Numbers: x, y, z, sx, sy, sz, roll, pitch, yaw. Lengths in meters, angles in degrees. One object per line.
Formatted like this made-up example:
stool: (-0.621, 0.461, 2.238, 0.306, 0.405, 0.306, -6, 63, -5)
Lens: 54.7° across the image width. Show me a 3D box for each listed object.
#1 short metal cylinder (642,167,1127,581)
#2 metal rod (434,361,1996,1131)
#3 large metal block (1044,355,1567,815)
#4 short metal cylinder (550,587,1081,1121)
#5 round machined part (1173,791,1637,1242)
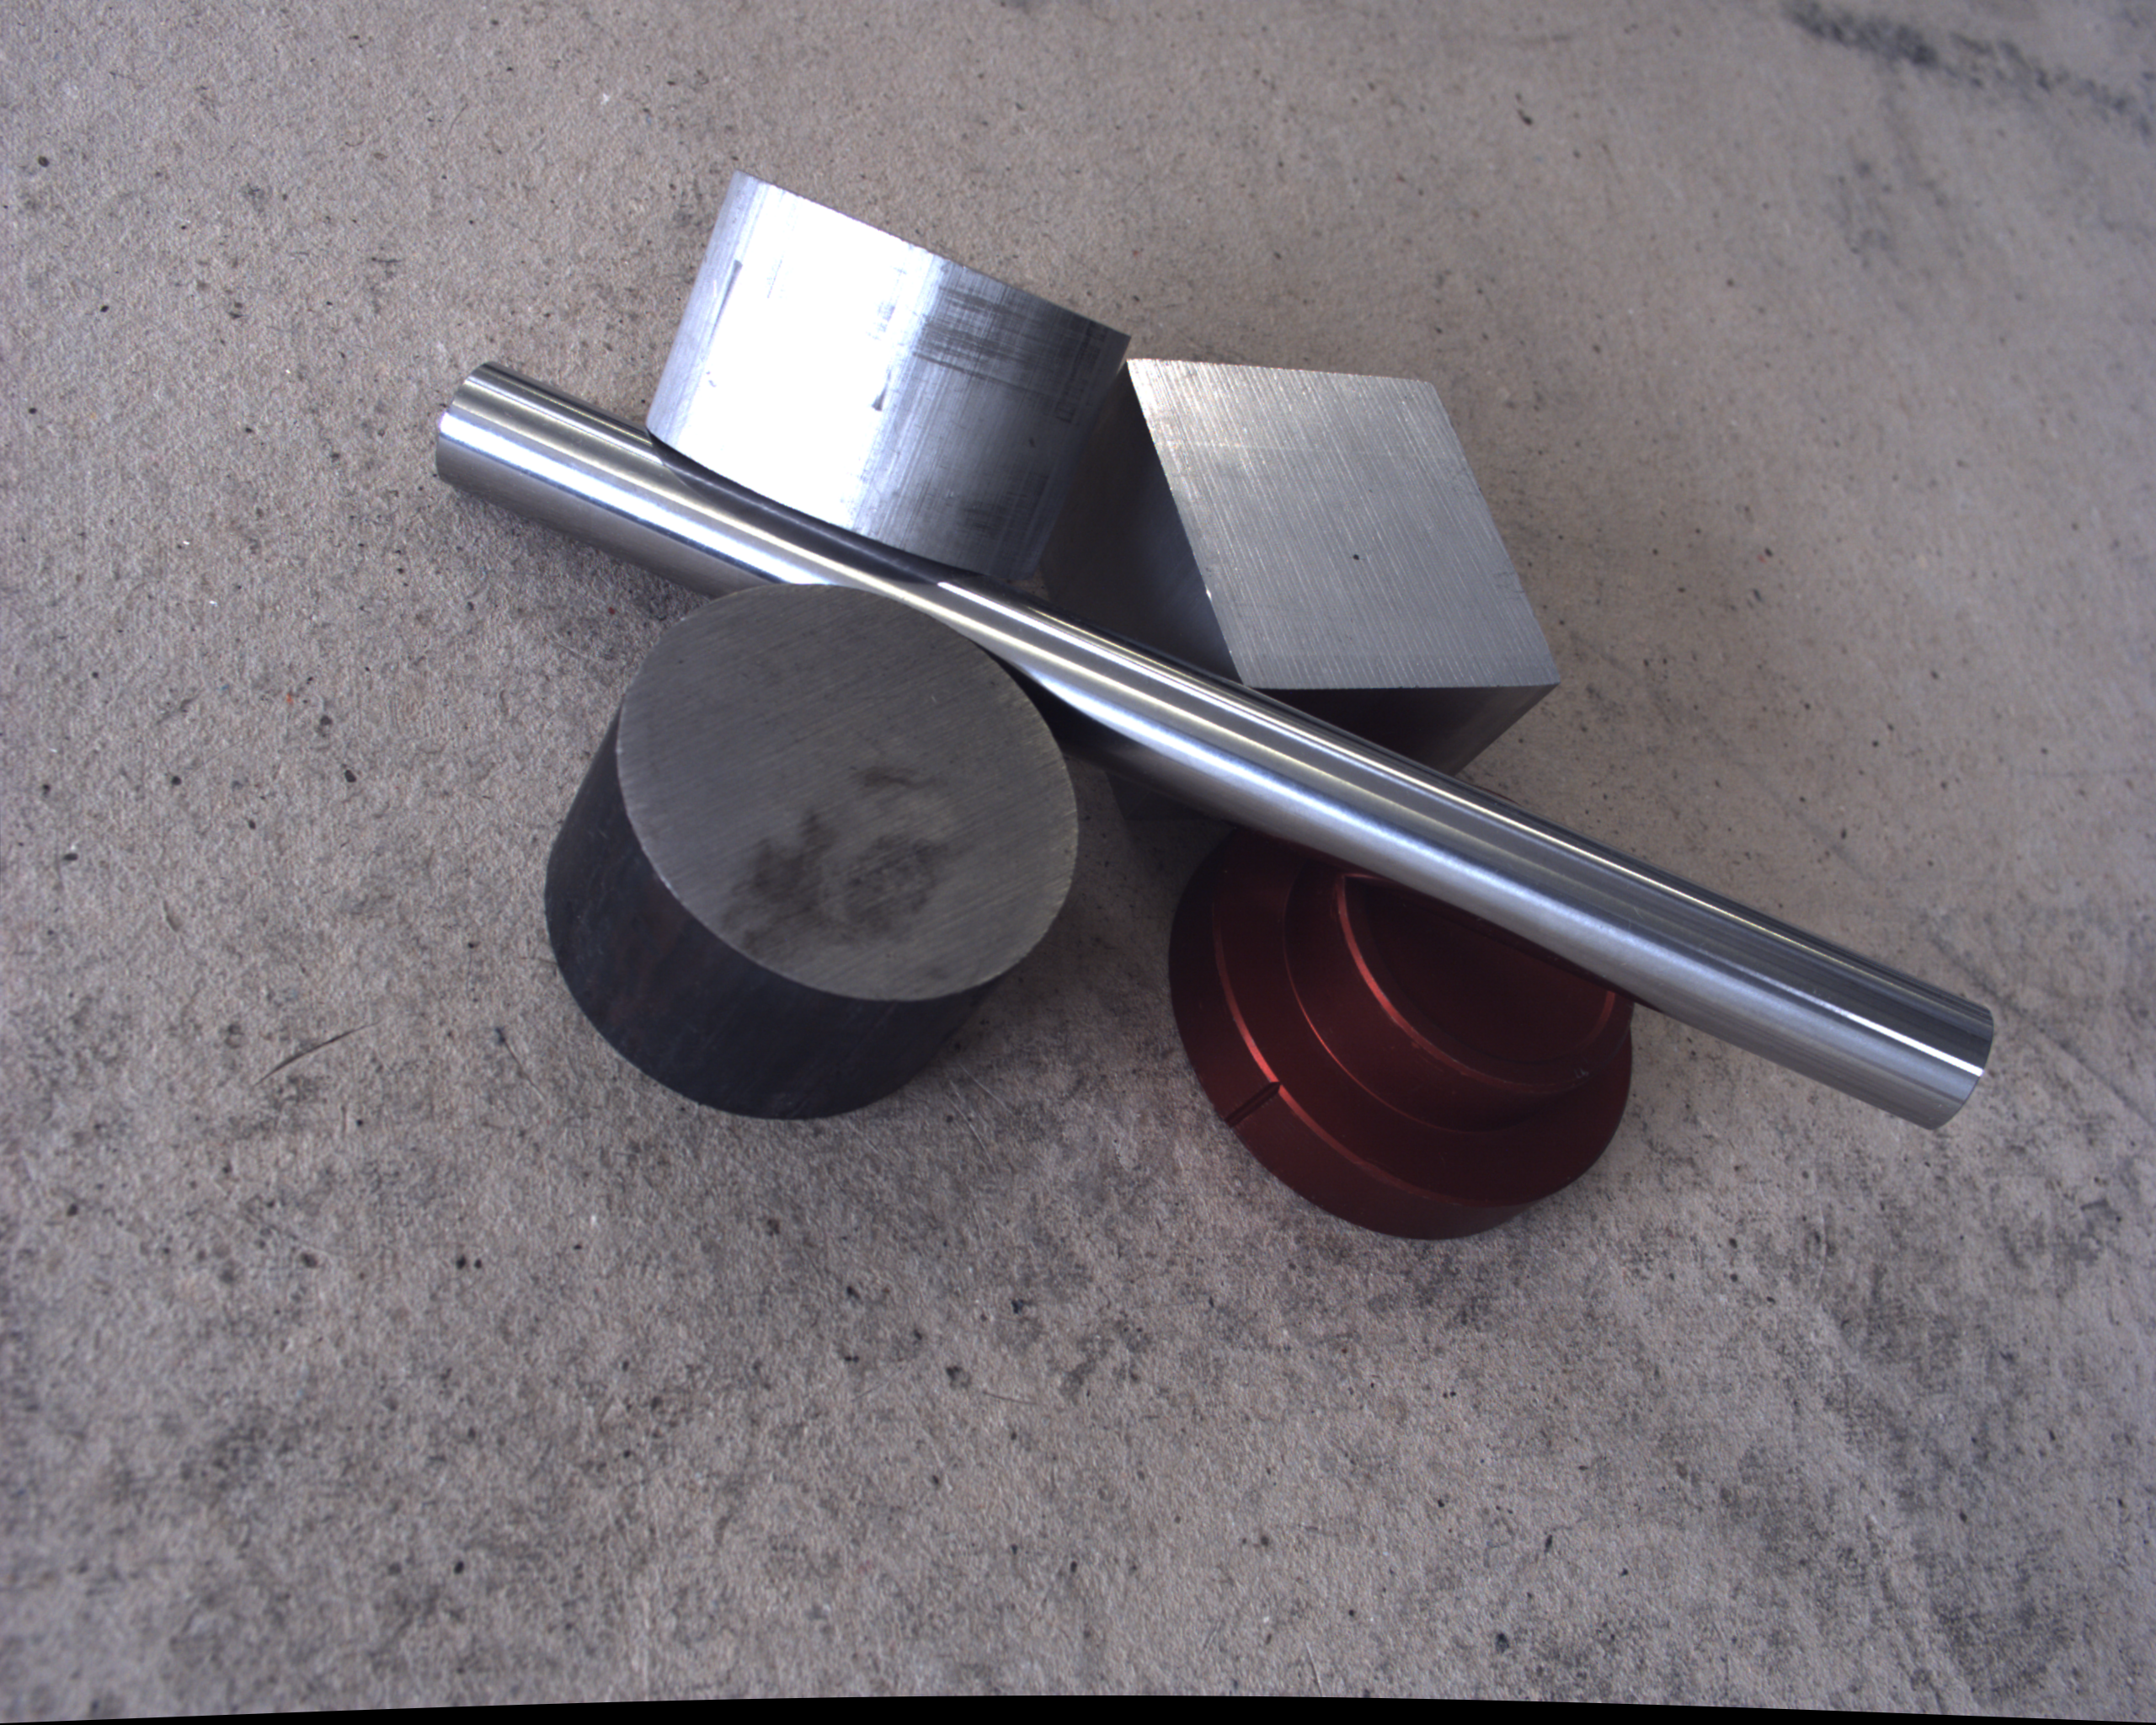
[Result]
short metal cylinder: (-0.037, -0.094, 0.402, 0.080, 0.050, 0.080, 22, 14, -6)
metal rod: (0.023, -0.023, 0.388, 0.301, 0.025, 0.025, 24, 52, 3)
large metal block: (0.045, -0.058, 0.446, 0.081, 0.050, 0.080, -3, 63, -30)
short metal cylinder: (-0.046, -0.001, 0.366, 0.081, 0.050, 0.080, 14, 56, -21)
round machined part: (0.072, 0.023, 0.418, 0.099, 0.042, 0.098, 14, 56, -21)
